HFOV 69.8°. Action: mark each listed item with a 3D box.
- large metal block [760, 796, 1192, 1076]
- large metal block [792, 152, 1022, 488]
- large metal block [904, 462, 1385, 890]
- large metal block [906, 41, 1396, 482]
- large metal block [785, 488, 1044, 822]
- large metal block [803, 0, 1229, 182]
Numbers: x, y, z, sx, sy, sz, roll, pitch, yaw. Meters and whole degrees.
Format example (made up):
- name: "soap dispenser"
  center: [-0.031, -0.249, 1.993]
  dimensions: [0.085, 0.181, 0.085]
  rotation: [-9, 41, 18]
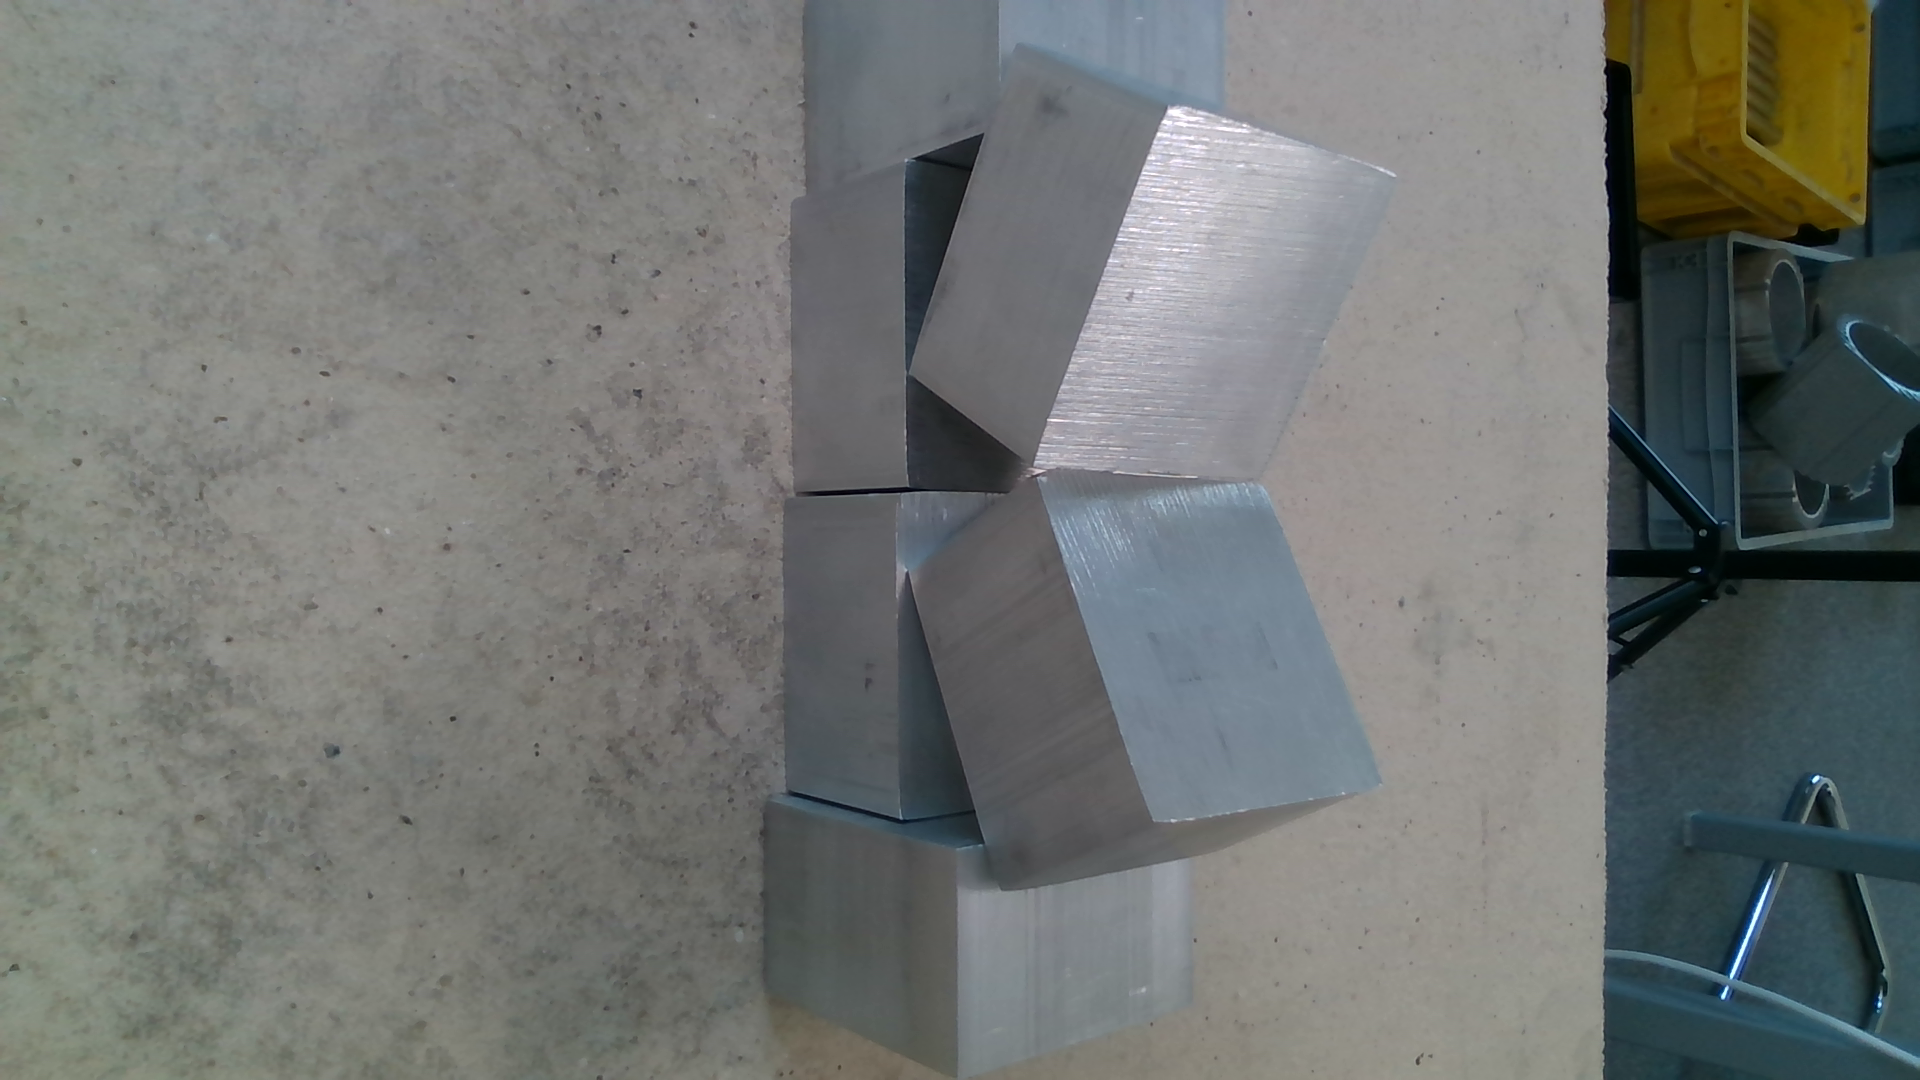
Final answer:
- name: "large metal block"
  center: [0.003, 0.093, 0.360]
  dimensions: [0.080, 0.080, 0.050]
  rotation: [0, 91, -40]
- name: "large metal block"
  center: [0.002, -0.053, 0.376]
  dimensions: [0.080, 0.050, 0.080]
  rotation: [0, 90, -40]
- name: "large metal block"
  center: [0.043, 0.031, 0.326]
  dimensions: [0.080, 0.050, 0.080]
  rotation: [1, 63, -40]
- name: "large metal block"
  center: [0.044, -0.062, 0.326]
  dimensions: [0.080, 0.050, 0.080]
  rotation: [0, 119, -40]
- name: "large metal block"
  center: [0.000, 0.028, 0.374]
  dimensions: [0.080, 0.050, 0.080]
  rotation: [0, 90, -40]
- name: "large metal block"
  center: [0.015, -0.120, 0.367]
  dimensions: [0.080, 0.080, 0.050]
  rotation: [-1, 90, -41]
